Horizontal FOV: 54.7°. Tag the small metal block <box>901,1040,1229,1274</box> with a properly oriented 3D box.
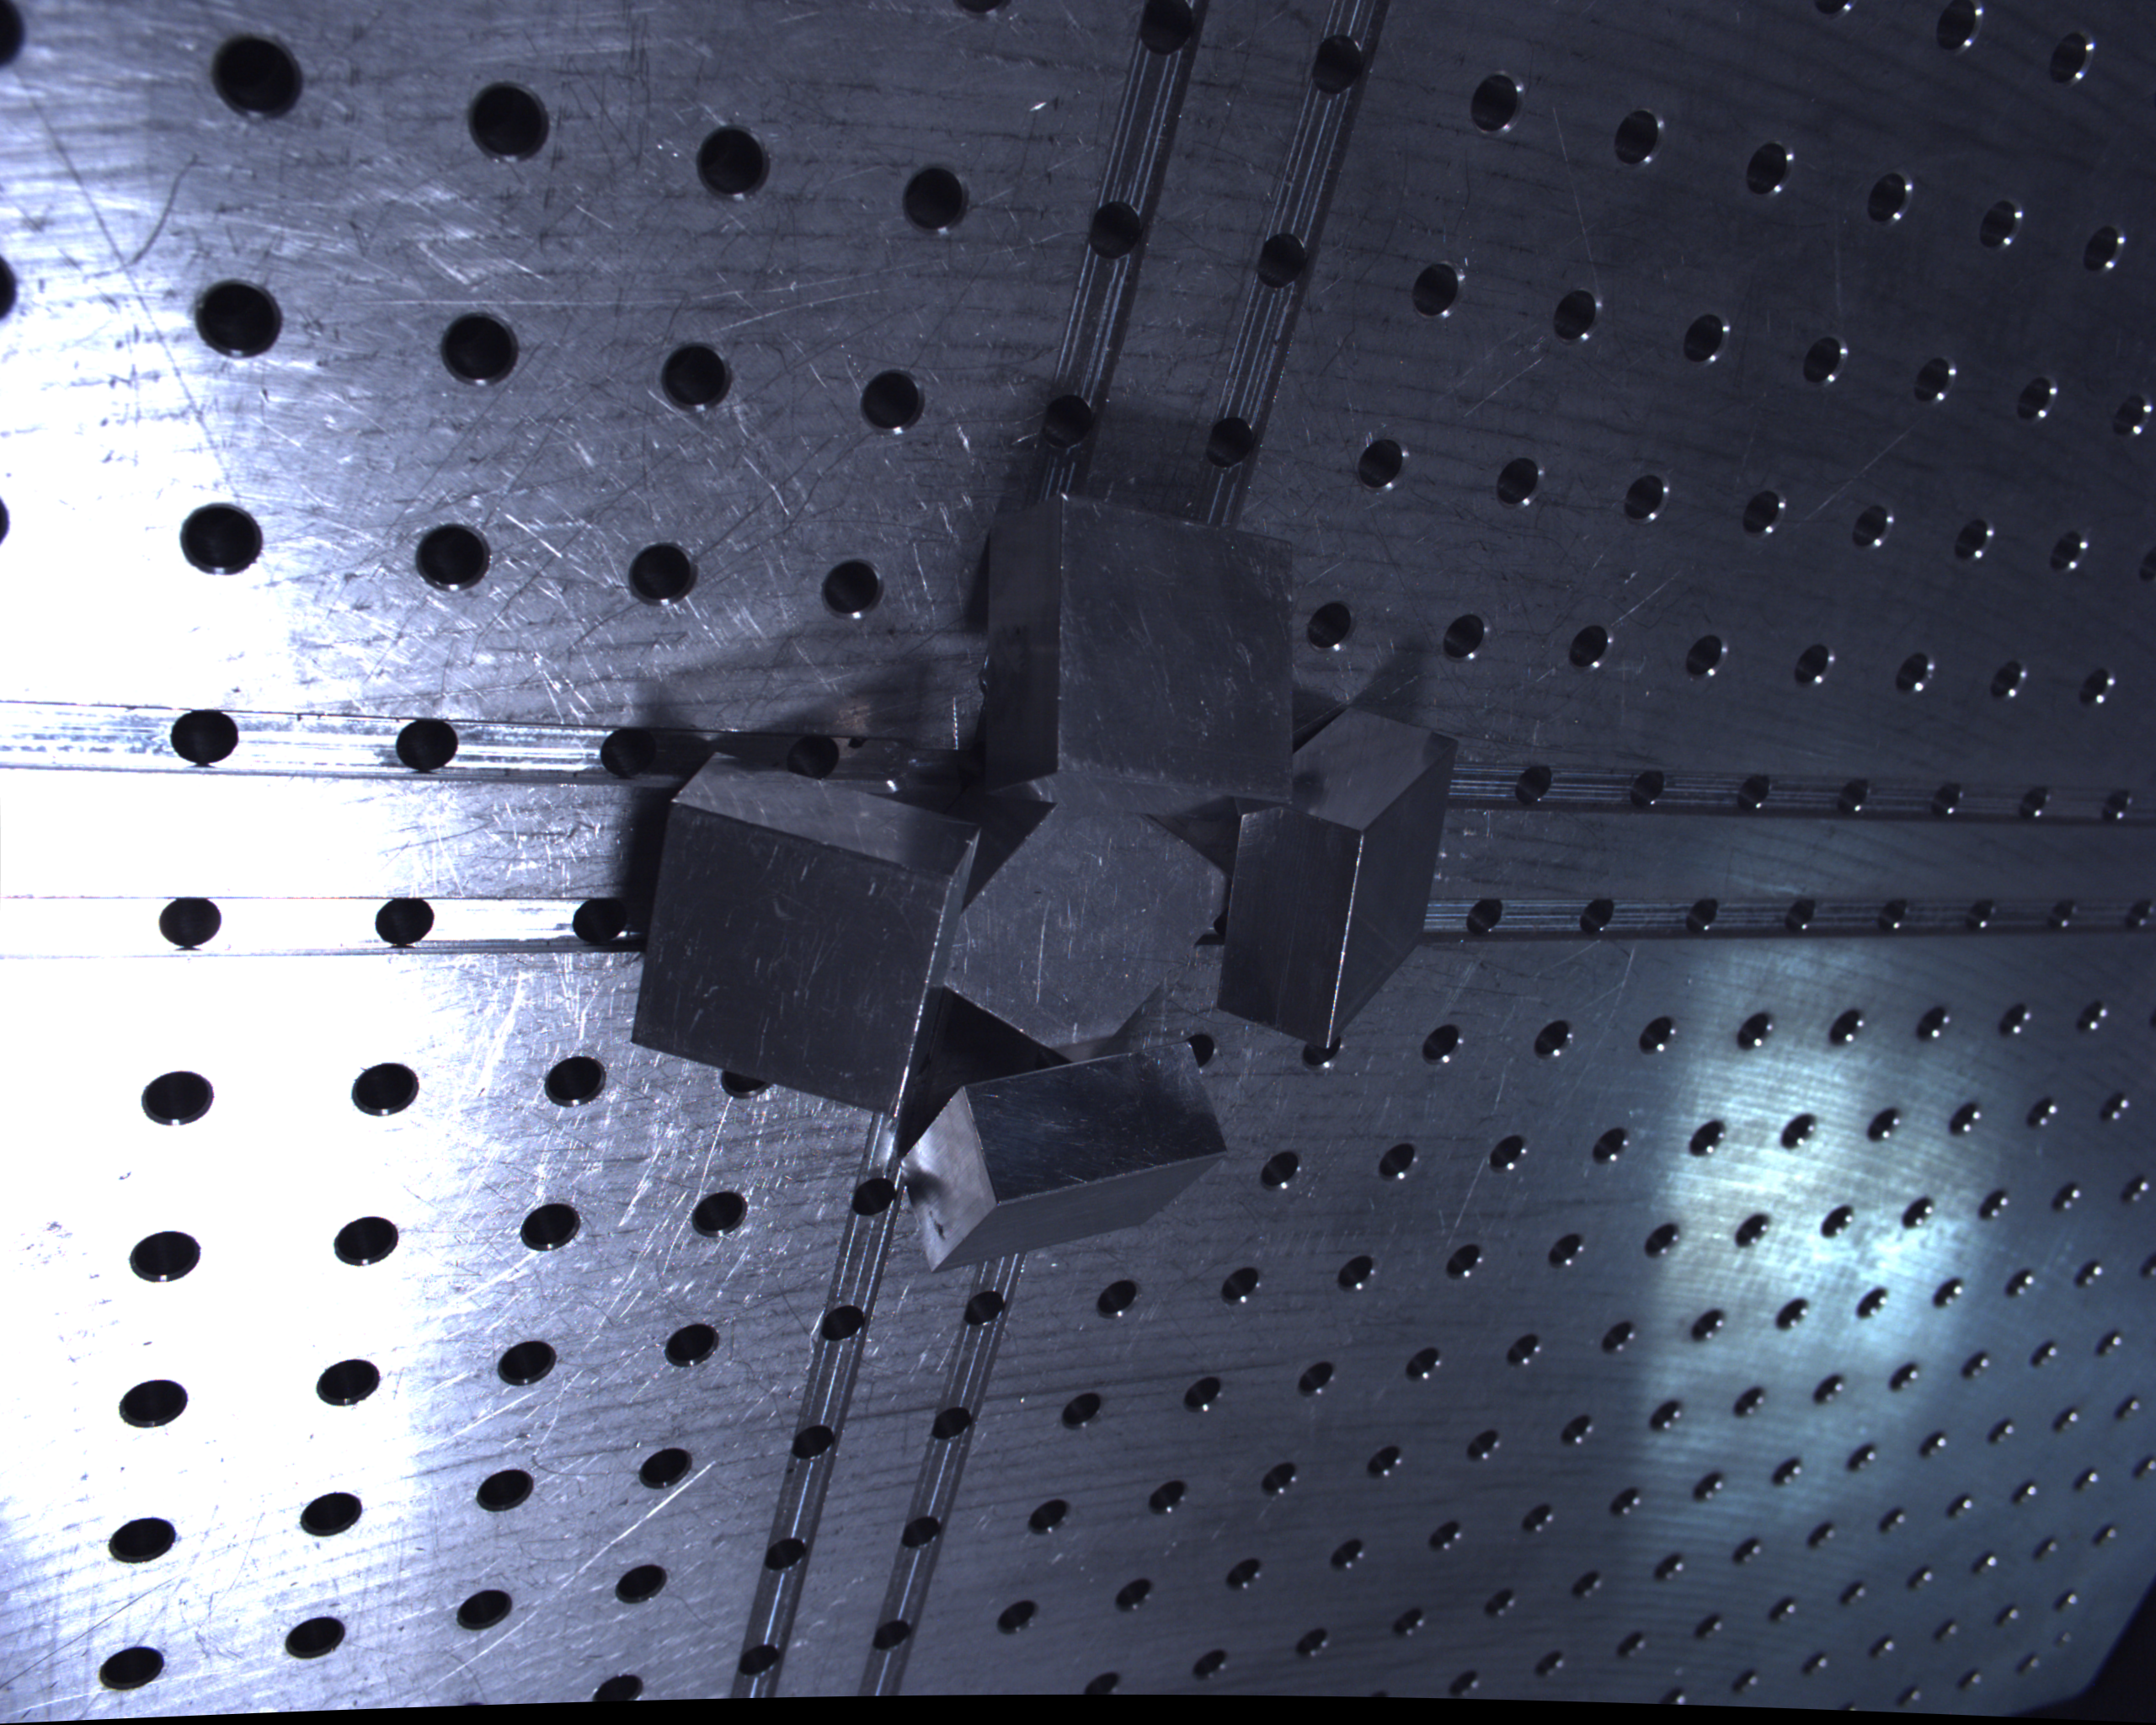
[{"bbox_3d":[-0.004,0.061,0.432,0.050,0.025,0.050,-9,158,-24],"label":"small metal block"}]

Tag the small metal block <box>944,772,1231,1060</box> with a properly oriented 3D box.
[{"bbox_3d":[-0.004,0.006,0.414,0.050,0.025,0.050,-49,129,6],"label":"small metal block"}]

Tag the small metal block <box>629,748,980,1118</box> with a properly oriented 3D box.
[{"bbox_3d":[-0.050,0.013,0.378,0.050,0.025,0.050,16,115,2],"label":"small metal block"}]

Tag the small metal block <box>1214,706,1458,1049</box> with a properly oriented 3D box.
[{"bbox_3d":[0.053,0.002,0.428,0.050,0.025,0.050,-38,141,-51],"label":"small metal block"}]

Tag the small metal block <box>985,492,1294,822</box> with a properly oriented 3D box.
[{"bbox_3d":[0.012,-0.036,0.381,0.050,0.025,0.050,6,79,-31],"label":"small metal block"}]
